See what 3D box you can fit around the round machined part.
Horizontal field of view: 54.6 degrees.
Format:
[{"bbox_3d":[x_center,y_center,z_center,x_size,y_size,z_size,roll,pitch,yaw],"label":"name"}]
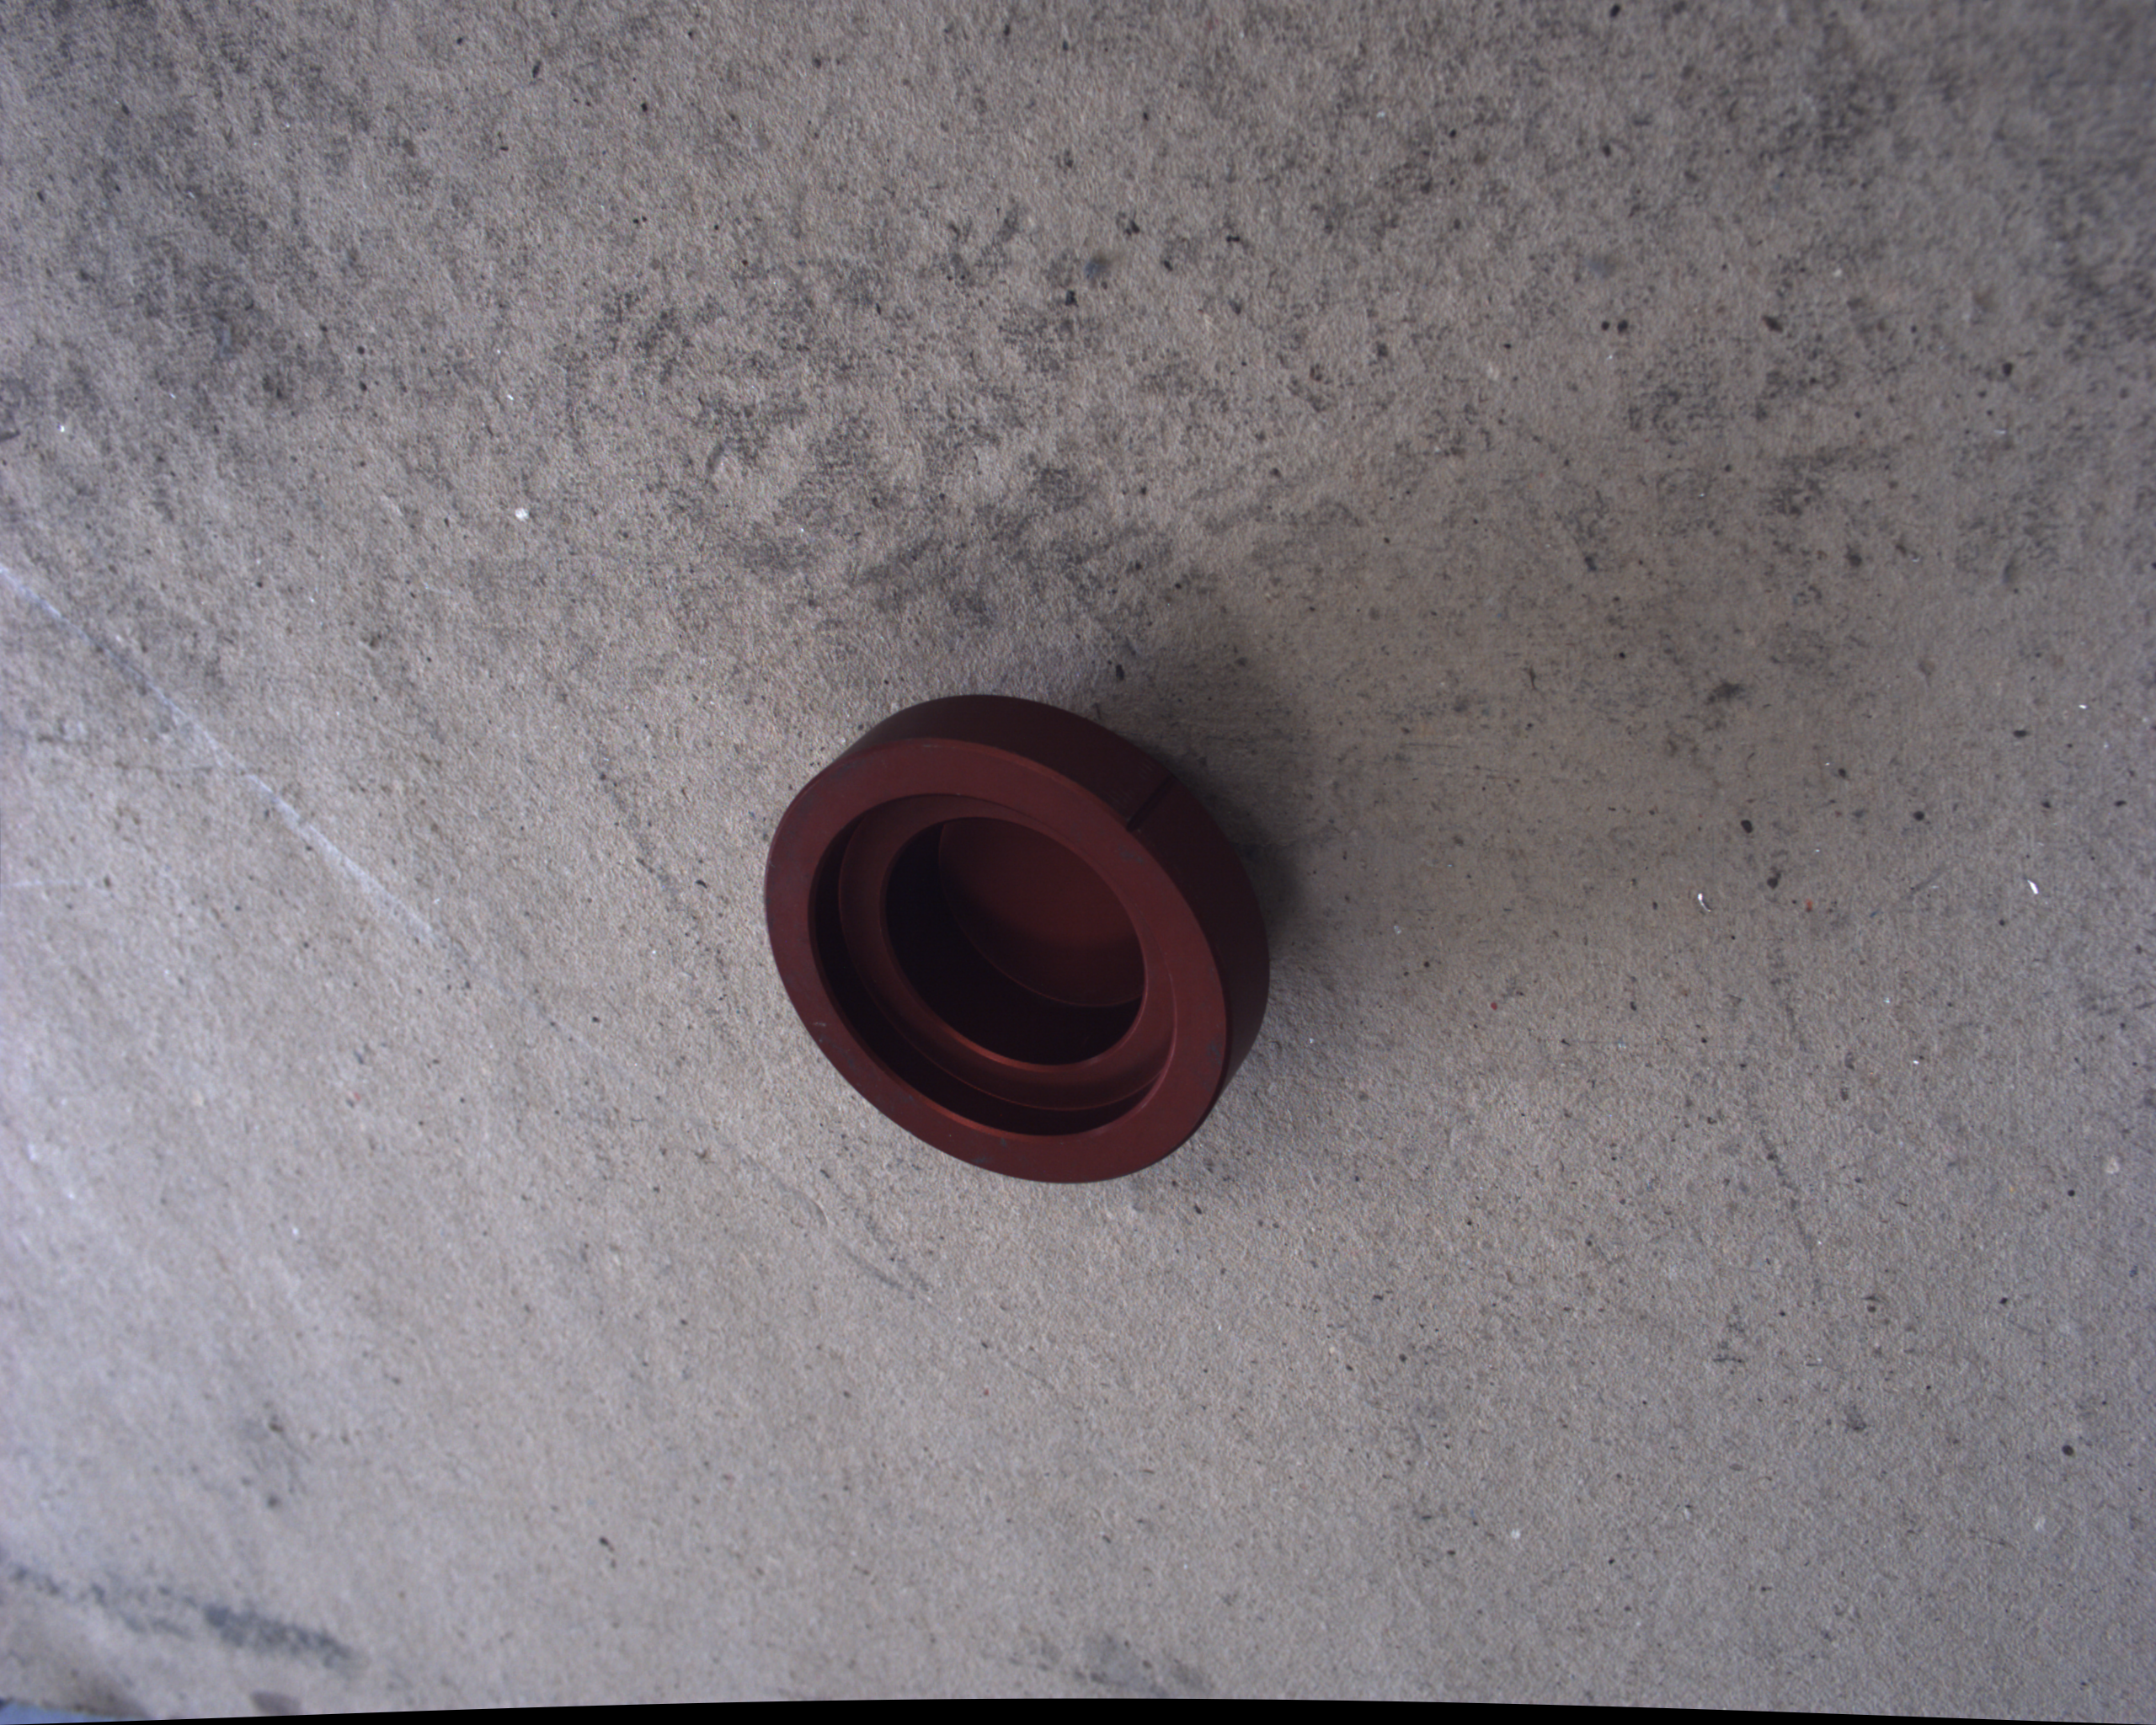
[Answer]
[{"bbox_3d":[-0.008,0.011,0.409,0.098,0.042,0.097,13,124,21],"label":"round machined part"}]
